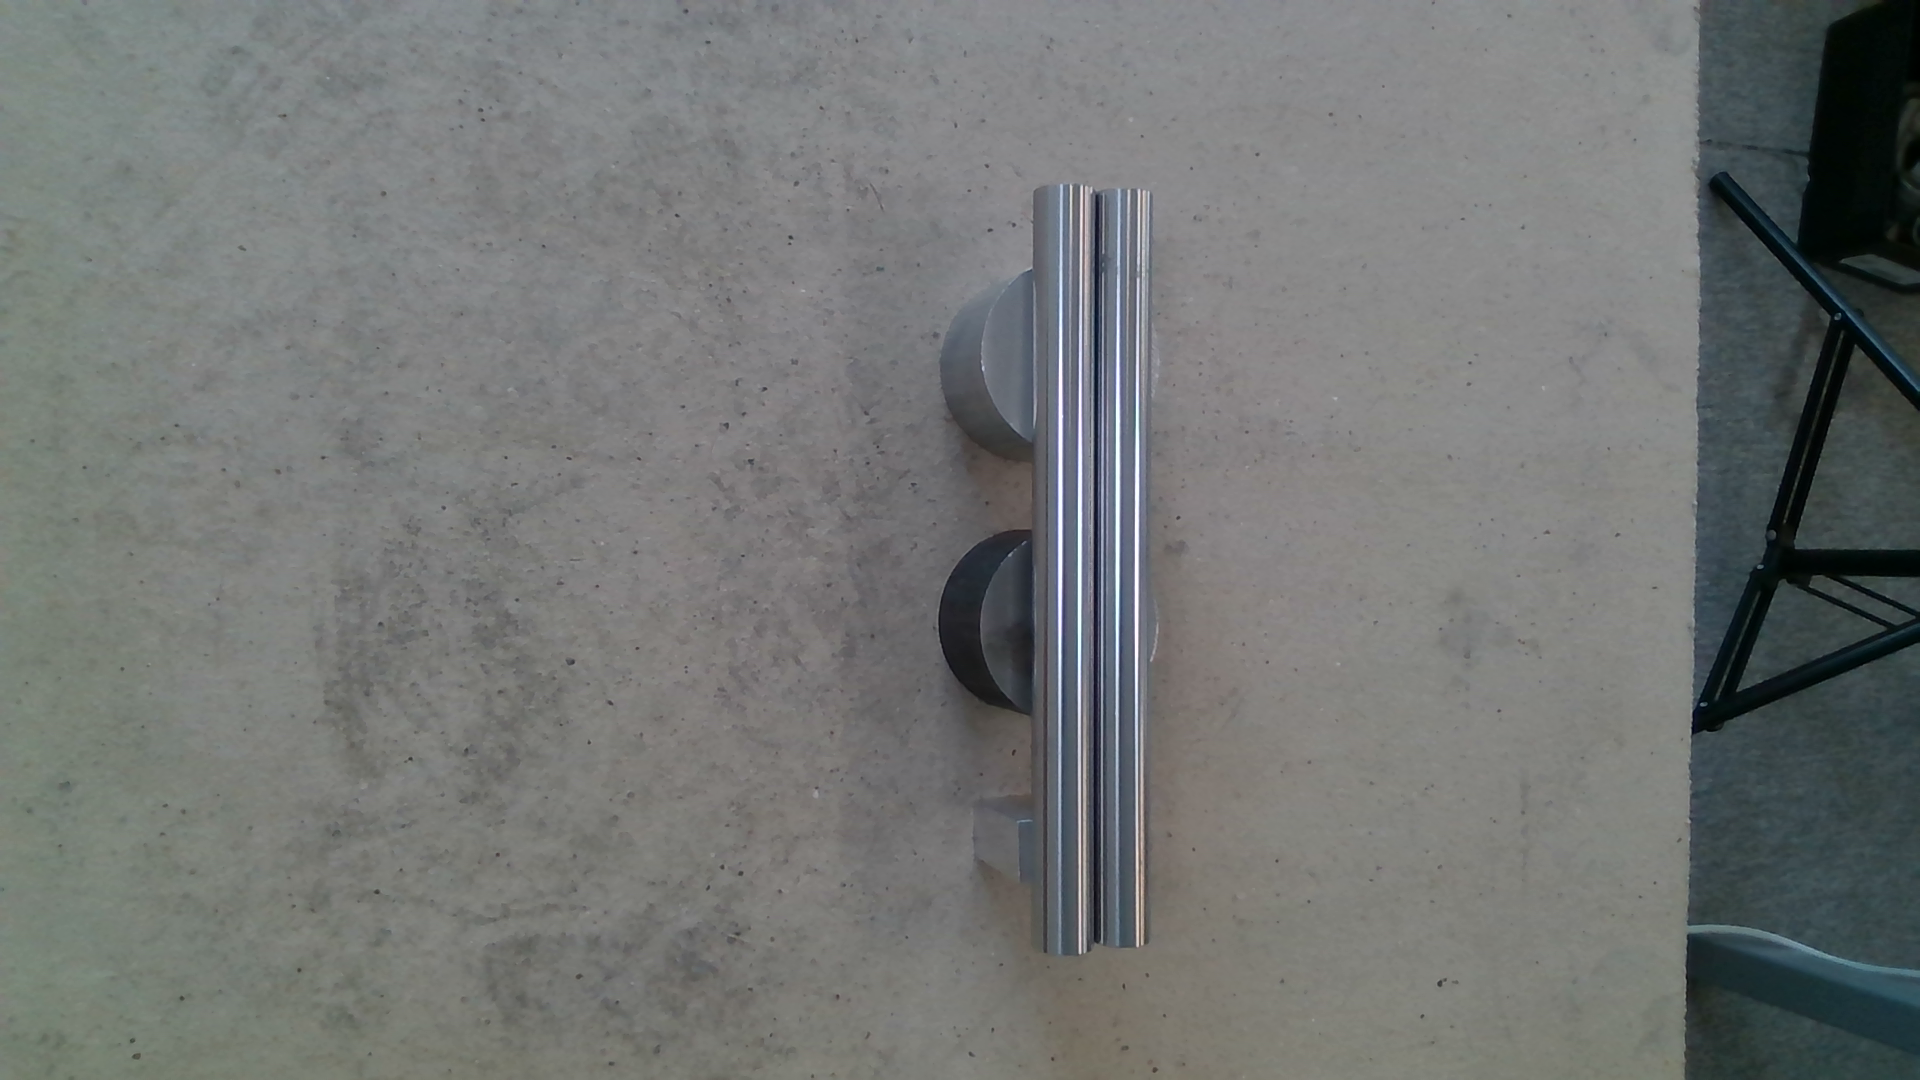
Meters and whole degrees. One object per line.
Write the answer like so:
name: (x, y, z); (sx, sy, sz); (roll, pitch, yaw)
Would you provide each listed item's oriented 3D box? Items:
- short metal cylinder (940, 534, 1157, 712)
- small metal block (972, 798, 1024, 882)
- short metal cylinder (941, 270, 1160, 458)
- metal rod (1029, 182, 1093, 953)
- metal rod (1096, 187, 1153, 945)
short metal cylinder: (0.037, 0.035, 0.587); (0.080, 0.050, 0.080); (0, 90, -20)
small metal block: (0.038, 0.125, 0.589); (0.050, 0.050, 0.025); (-2, 91, -21)
short metal cylinder: (0.038, -0.075, 0.586); (0.080, 0.050, 0.080); (0, 90, -20)
metal rod: (0.041, 0.011, 0.548); (0.025, 0.025, 0.300); (0, 90, -20)
metal rod: (0.065, 0.010, 0.557); (0.025, 0.025, 0.300); (0, 90, -20)
